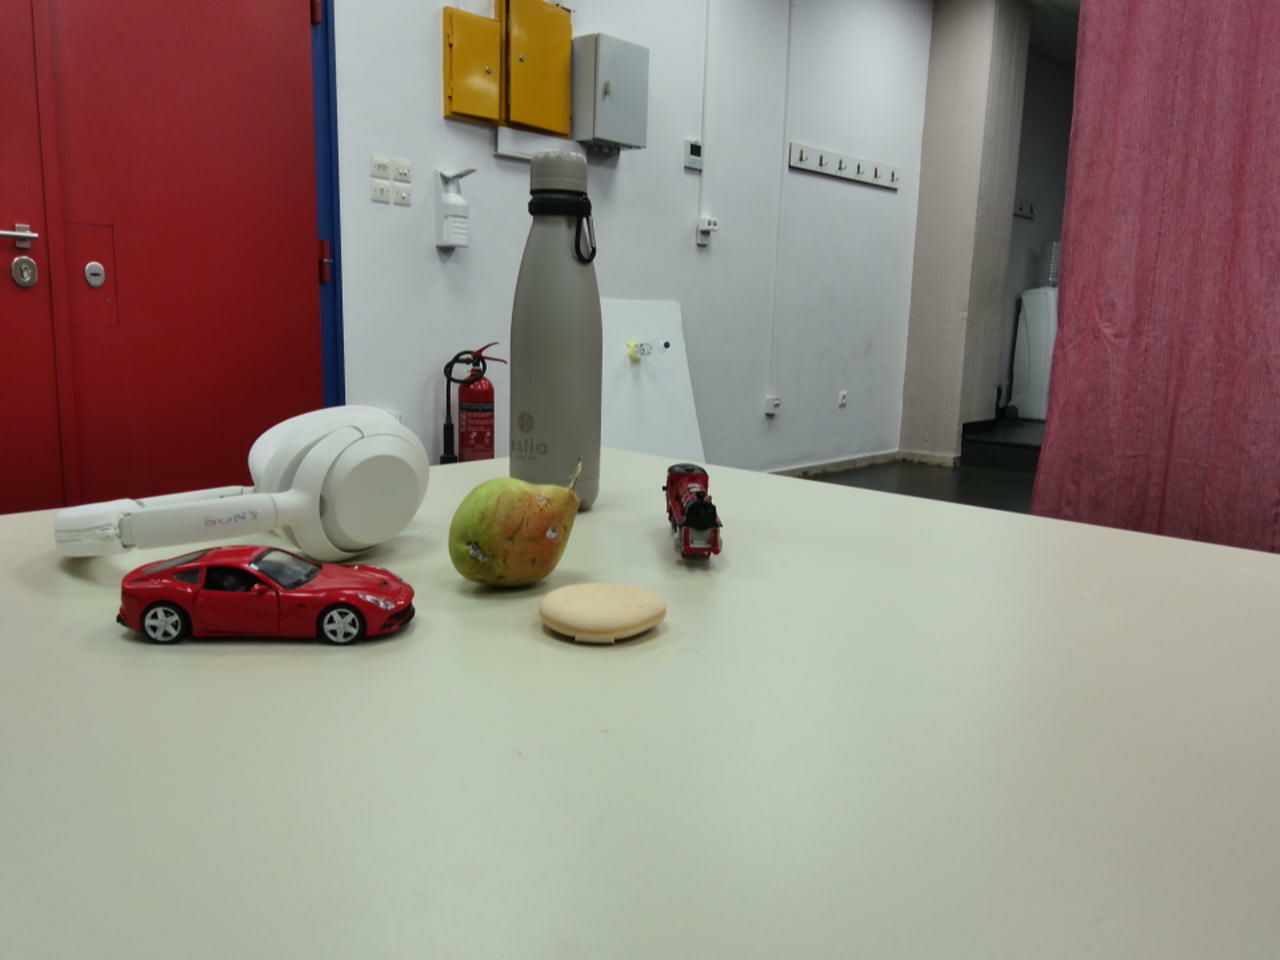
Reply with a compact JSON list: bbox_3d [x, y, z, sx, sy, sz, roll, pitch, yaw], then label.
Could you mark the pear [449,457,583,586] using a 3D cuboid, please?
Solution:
[{"bbox_3d":[-0.072,0.025,0.573,0.070,0.069,0.068,1,8,4],"label":"pear"}]
